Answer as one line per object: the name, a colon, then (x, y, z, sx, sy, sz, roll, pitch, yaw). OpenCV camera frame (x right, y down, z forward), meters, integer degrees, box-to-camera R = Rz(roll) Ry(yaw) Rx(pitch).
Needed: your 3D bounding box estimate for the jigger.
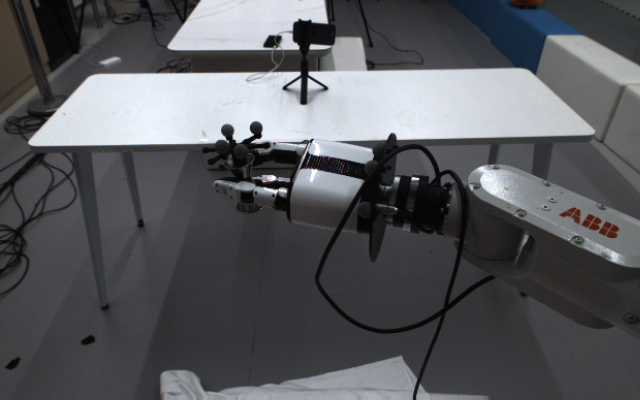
jigger: (-0.098, -0.025, 0.635, 0.043, 0.071, 0.043, -9, 31, 5)
